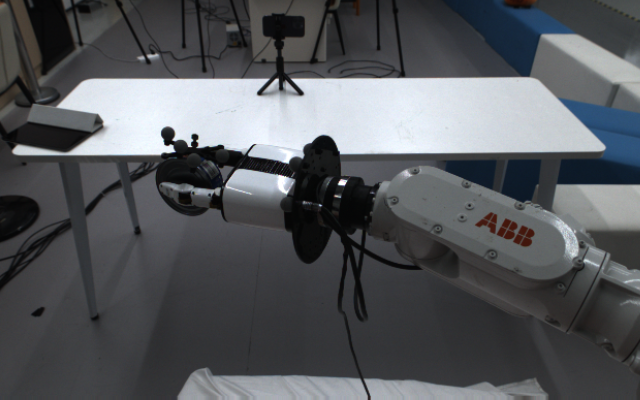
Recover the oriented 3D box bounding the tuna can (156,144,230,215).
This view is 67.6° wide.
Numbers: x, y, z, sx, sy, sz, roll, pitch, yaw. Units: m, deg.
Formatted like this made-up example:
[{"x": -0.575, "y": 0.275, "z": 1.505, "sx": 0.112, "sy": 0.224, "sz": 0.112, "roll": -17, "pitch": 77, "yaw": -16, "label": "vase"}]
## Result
[{"x": -0.173, "y": -0.022, "z": 0.651, "sx": 0.085, "sy": 0.085, "sz": 0.034, "roll": 12, "pitch": 29, "yaw": 15, "label": "tuna can"}]
